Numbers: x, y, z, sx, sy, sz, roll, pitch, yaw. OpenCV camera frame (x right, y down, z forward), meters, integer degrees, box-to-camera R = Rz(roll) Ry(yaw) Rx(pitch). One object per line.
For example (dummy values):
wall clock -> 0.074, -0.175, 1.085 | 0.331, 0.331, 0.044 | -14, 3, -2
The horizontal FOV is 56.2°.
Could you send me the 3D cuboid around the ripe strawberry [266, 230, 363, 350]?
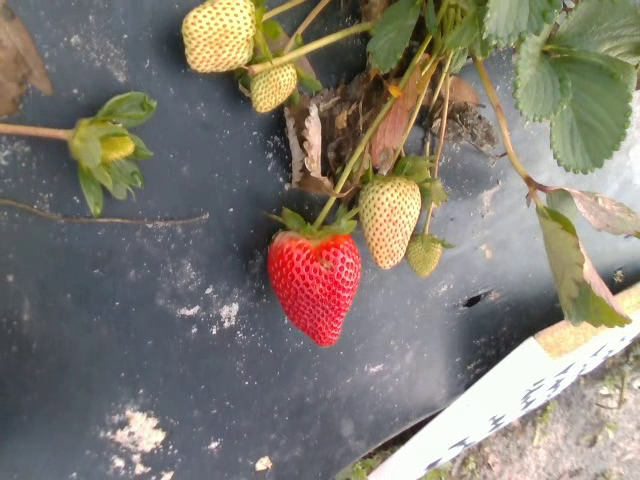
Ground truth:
ripe strawberry -> 0.000, 0.020, 0.265 | 0.050, 0.059, 0.033 | -17, 11, -26
